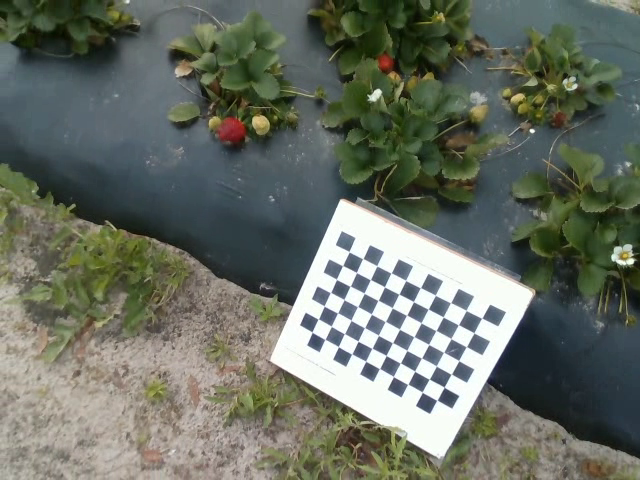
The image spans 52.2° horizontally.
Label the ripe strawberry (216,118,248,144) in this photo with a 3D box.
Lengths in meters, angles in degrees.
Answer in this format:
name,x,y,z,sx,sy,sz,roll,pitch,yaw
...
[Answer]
name,x,y,z,sx,sy,sz,roll,pitch,yaw
ripe strawberry,-0.147,-0.174,1.048,0.046,0.046,0.059,21,34,16
